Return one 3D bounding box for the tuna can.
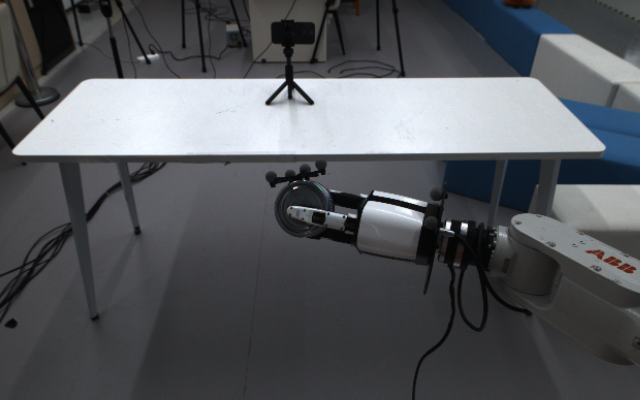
[{"bbox_3d":[-0.020,0.019,0.713,0.085,0.085,0.034,12,3,14],"label":"tuna can"}]
